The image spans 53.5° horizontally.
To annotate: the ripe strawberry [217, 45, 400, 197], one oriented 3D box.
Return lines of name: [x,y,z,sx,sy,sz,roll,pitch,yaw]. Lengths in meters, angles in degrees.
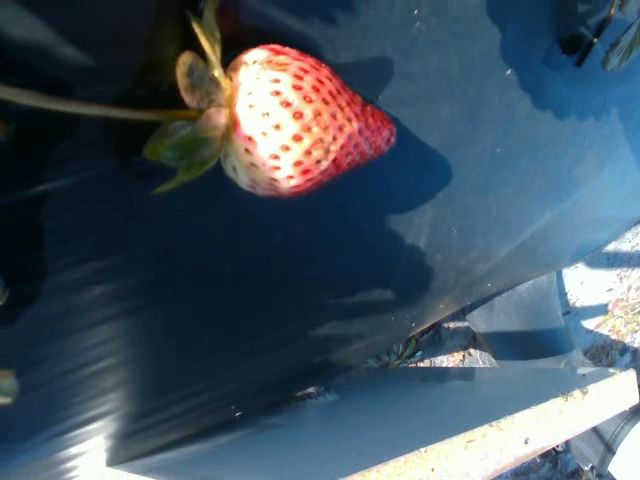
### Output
ripe strawberry: [0.000,-0.027,0.157,0.063,0.044,0.044,-6,-6,-30]
